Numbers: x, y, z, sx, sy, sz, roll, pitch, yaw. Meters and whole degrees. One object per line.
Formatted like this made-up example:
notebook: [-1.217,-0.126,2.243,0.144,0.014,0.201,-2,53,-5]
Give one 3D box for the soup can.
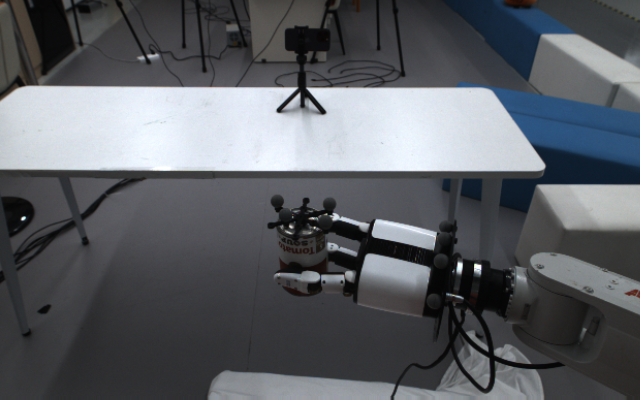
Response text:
soup can: [-0.020,0.068,0.647,0.067,0.101,0.067,-2,33,1]
